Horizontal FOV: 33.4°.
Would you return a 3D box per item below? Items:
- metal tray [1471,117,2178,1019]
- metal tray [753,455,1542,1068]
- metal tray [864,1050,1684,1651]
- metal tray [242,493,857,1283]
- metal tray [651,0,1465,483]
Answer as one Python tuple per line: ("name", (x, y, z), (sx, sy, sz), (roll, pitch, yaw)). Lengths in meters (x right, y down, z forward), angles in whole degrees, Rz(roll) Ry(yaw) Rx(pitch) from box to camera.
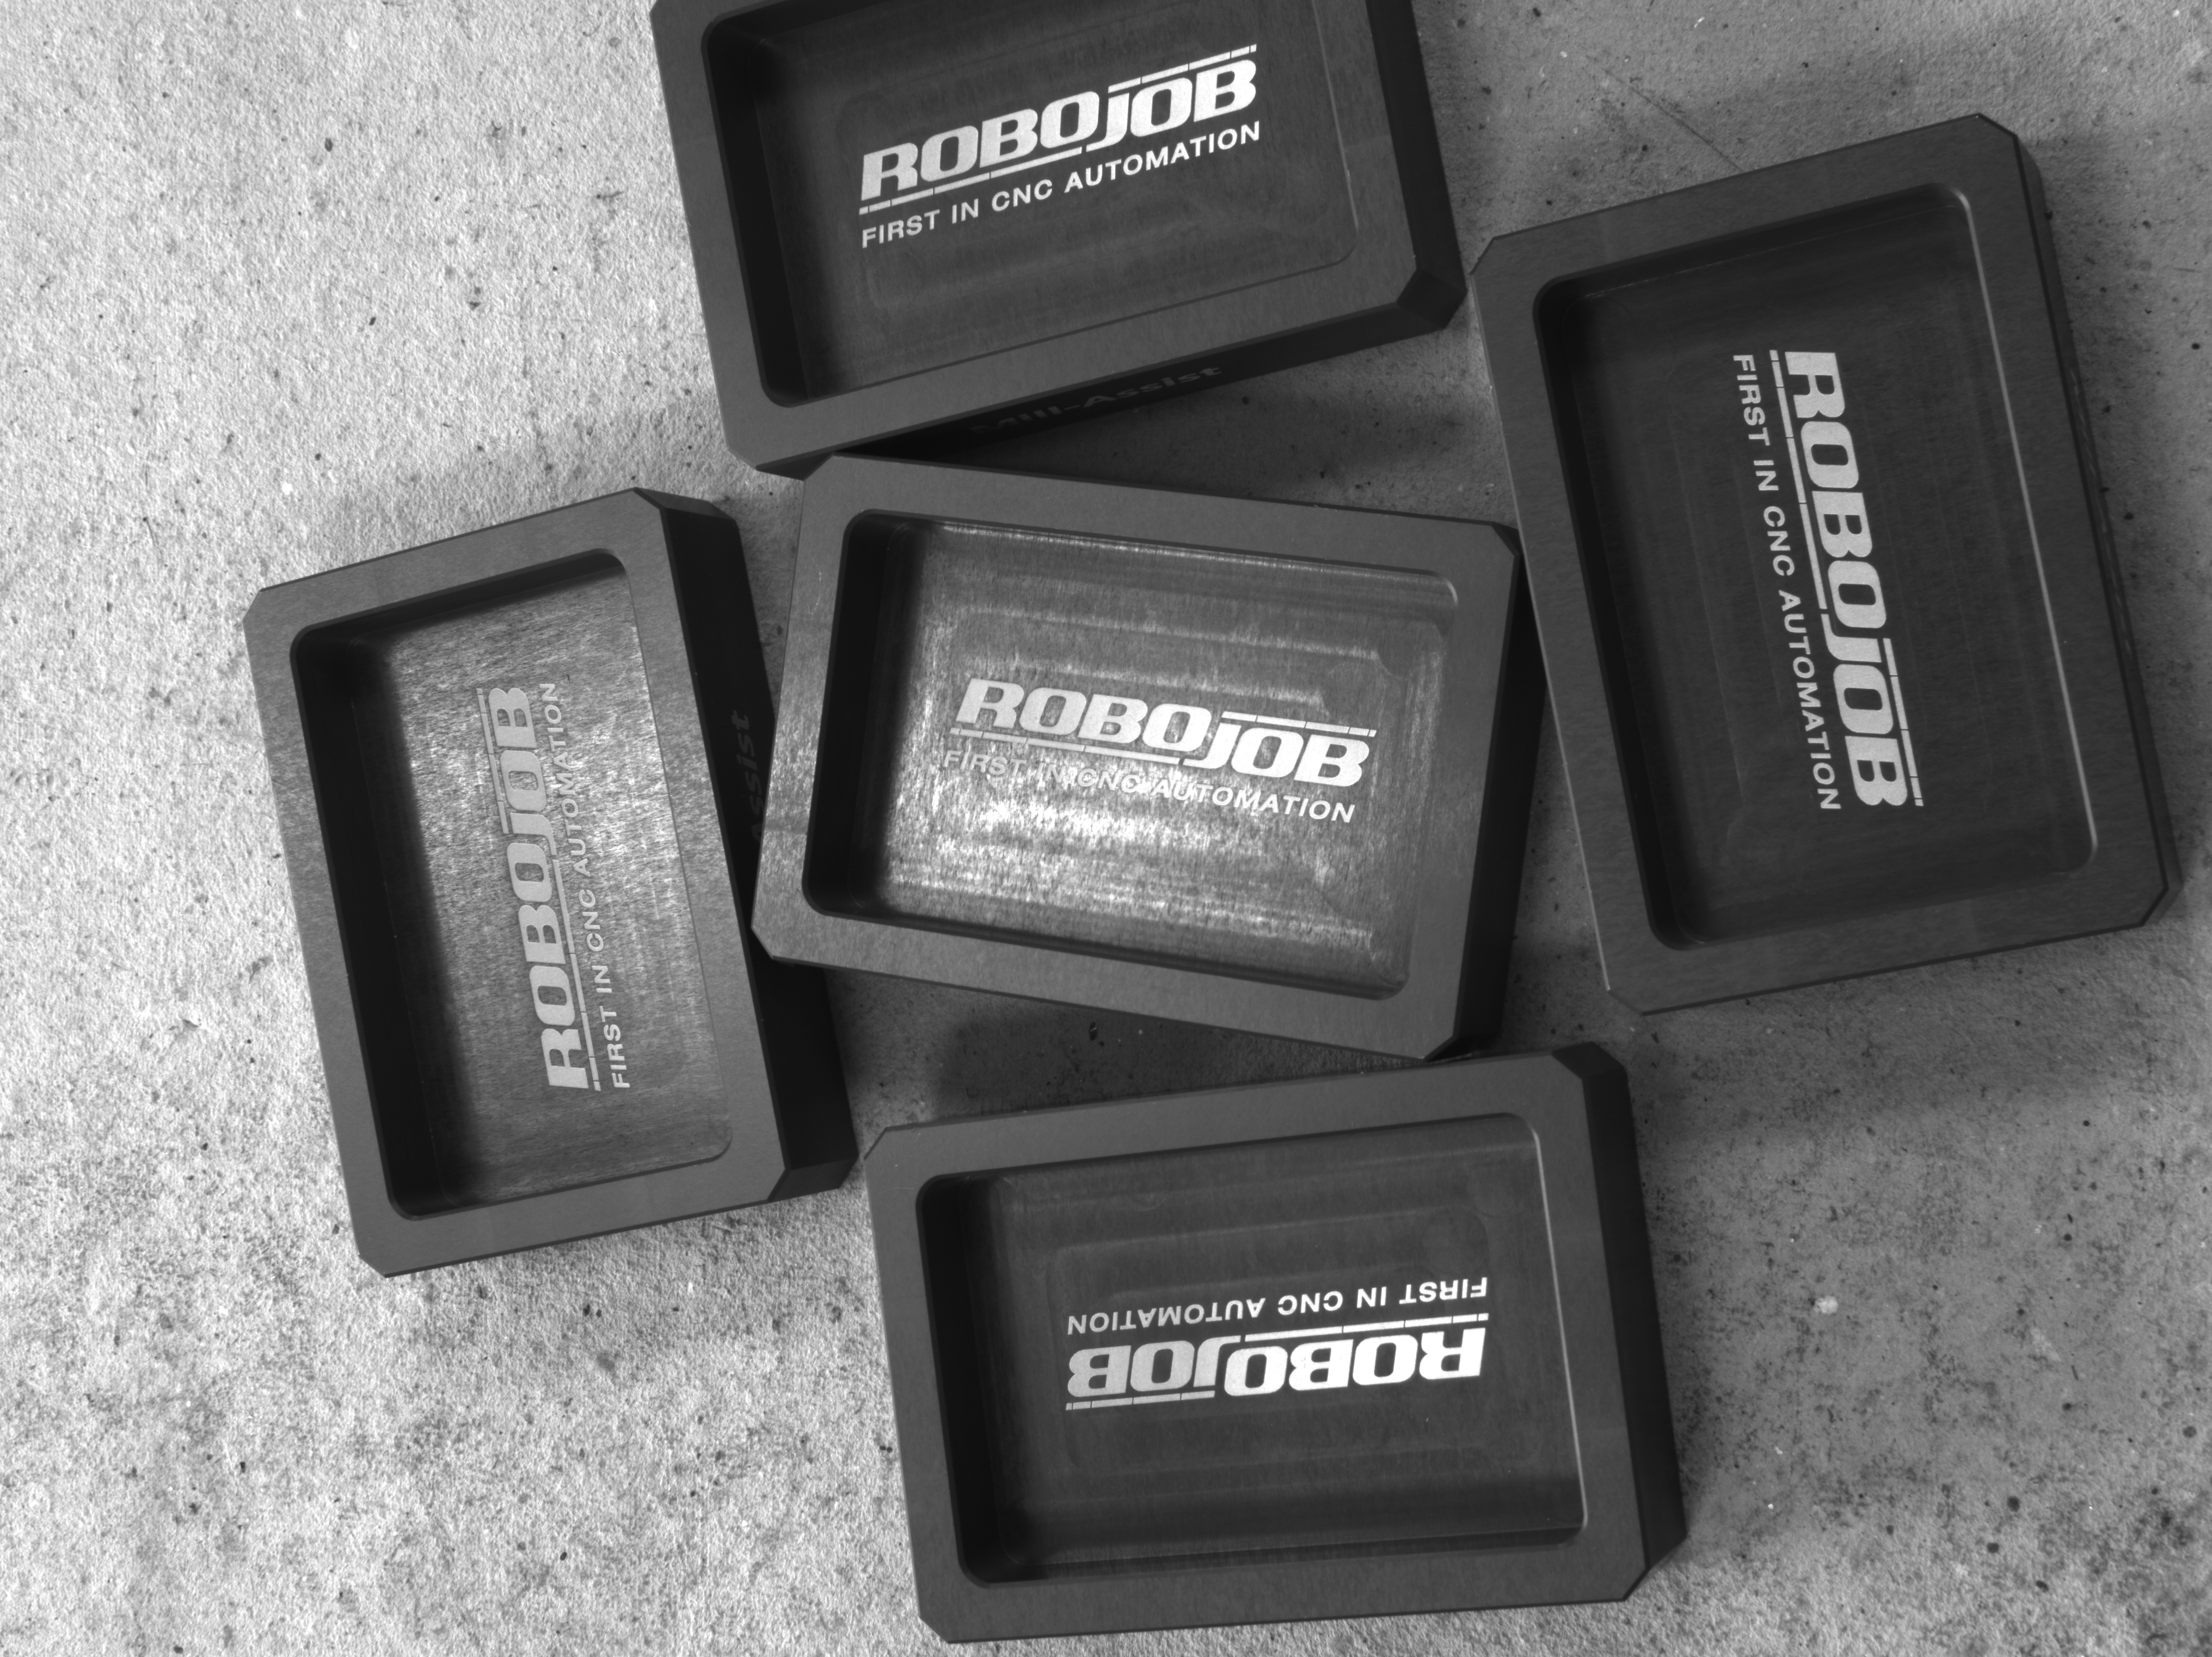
("metal tray", (0.117, -0.040, 0.602), (0.090, 0.030, 0.130), (-12, 86, 21))
("metal tray", (0.007, -0.013, 0.641), (0.130, 0.030, 0.090), (8, 95, 20))
("metal tray", (0.028, 0.090, 0.633), (0.130, 0.030, 0.090), (-8, 87, 20))
("metal tray", (-0.103, 0.012, 0.682), (0.090, 0.030, 0.130), (-13, 86, 20))
("metal tray", (-0.010, -0.118, 0.648), (0.130, 0.030, 0.090), (-12, 86, 20))
